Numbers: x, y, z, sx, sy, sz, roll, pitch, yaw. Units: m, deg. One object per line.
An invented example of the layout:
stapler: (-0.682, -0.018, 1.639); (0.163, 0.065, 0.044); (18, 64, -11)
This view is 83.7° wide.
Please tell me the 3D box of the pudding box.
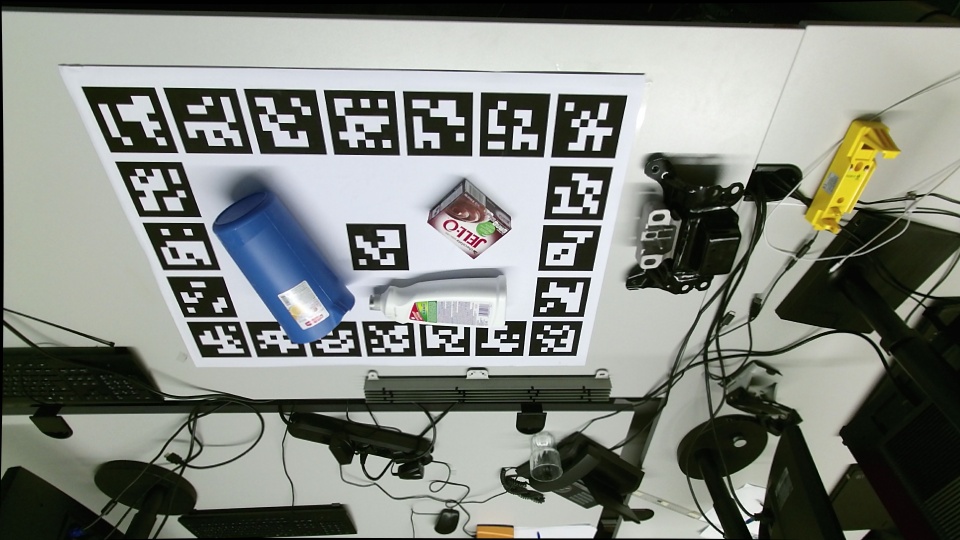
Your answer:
pudding box: (-0.019, -0.074, 0.900); (0.090, 0.038, 0.114); (-34, 119, 28)

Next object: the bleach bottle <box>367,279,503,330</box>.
bleach bottle: (-0.084, 0.070, 0.995); (0.252, 0.067, 0.102); (-1, 122, 1)

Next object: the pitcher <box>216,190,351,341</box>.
pitcher: (-0.342, -0.009, 0.909); (0.189, 0.133, 0.243); (2, 129, 40)
